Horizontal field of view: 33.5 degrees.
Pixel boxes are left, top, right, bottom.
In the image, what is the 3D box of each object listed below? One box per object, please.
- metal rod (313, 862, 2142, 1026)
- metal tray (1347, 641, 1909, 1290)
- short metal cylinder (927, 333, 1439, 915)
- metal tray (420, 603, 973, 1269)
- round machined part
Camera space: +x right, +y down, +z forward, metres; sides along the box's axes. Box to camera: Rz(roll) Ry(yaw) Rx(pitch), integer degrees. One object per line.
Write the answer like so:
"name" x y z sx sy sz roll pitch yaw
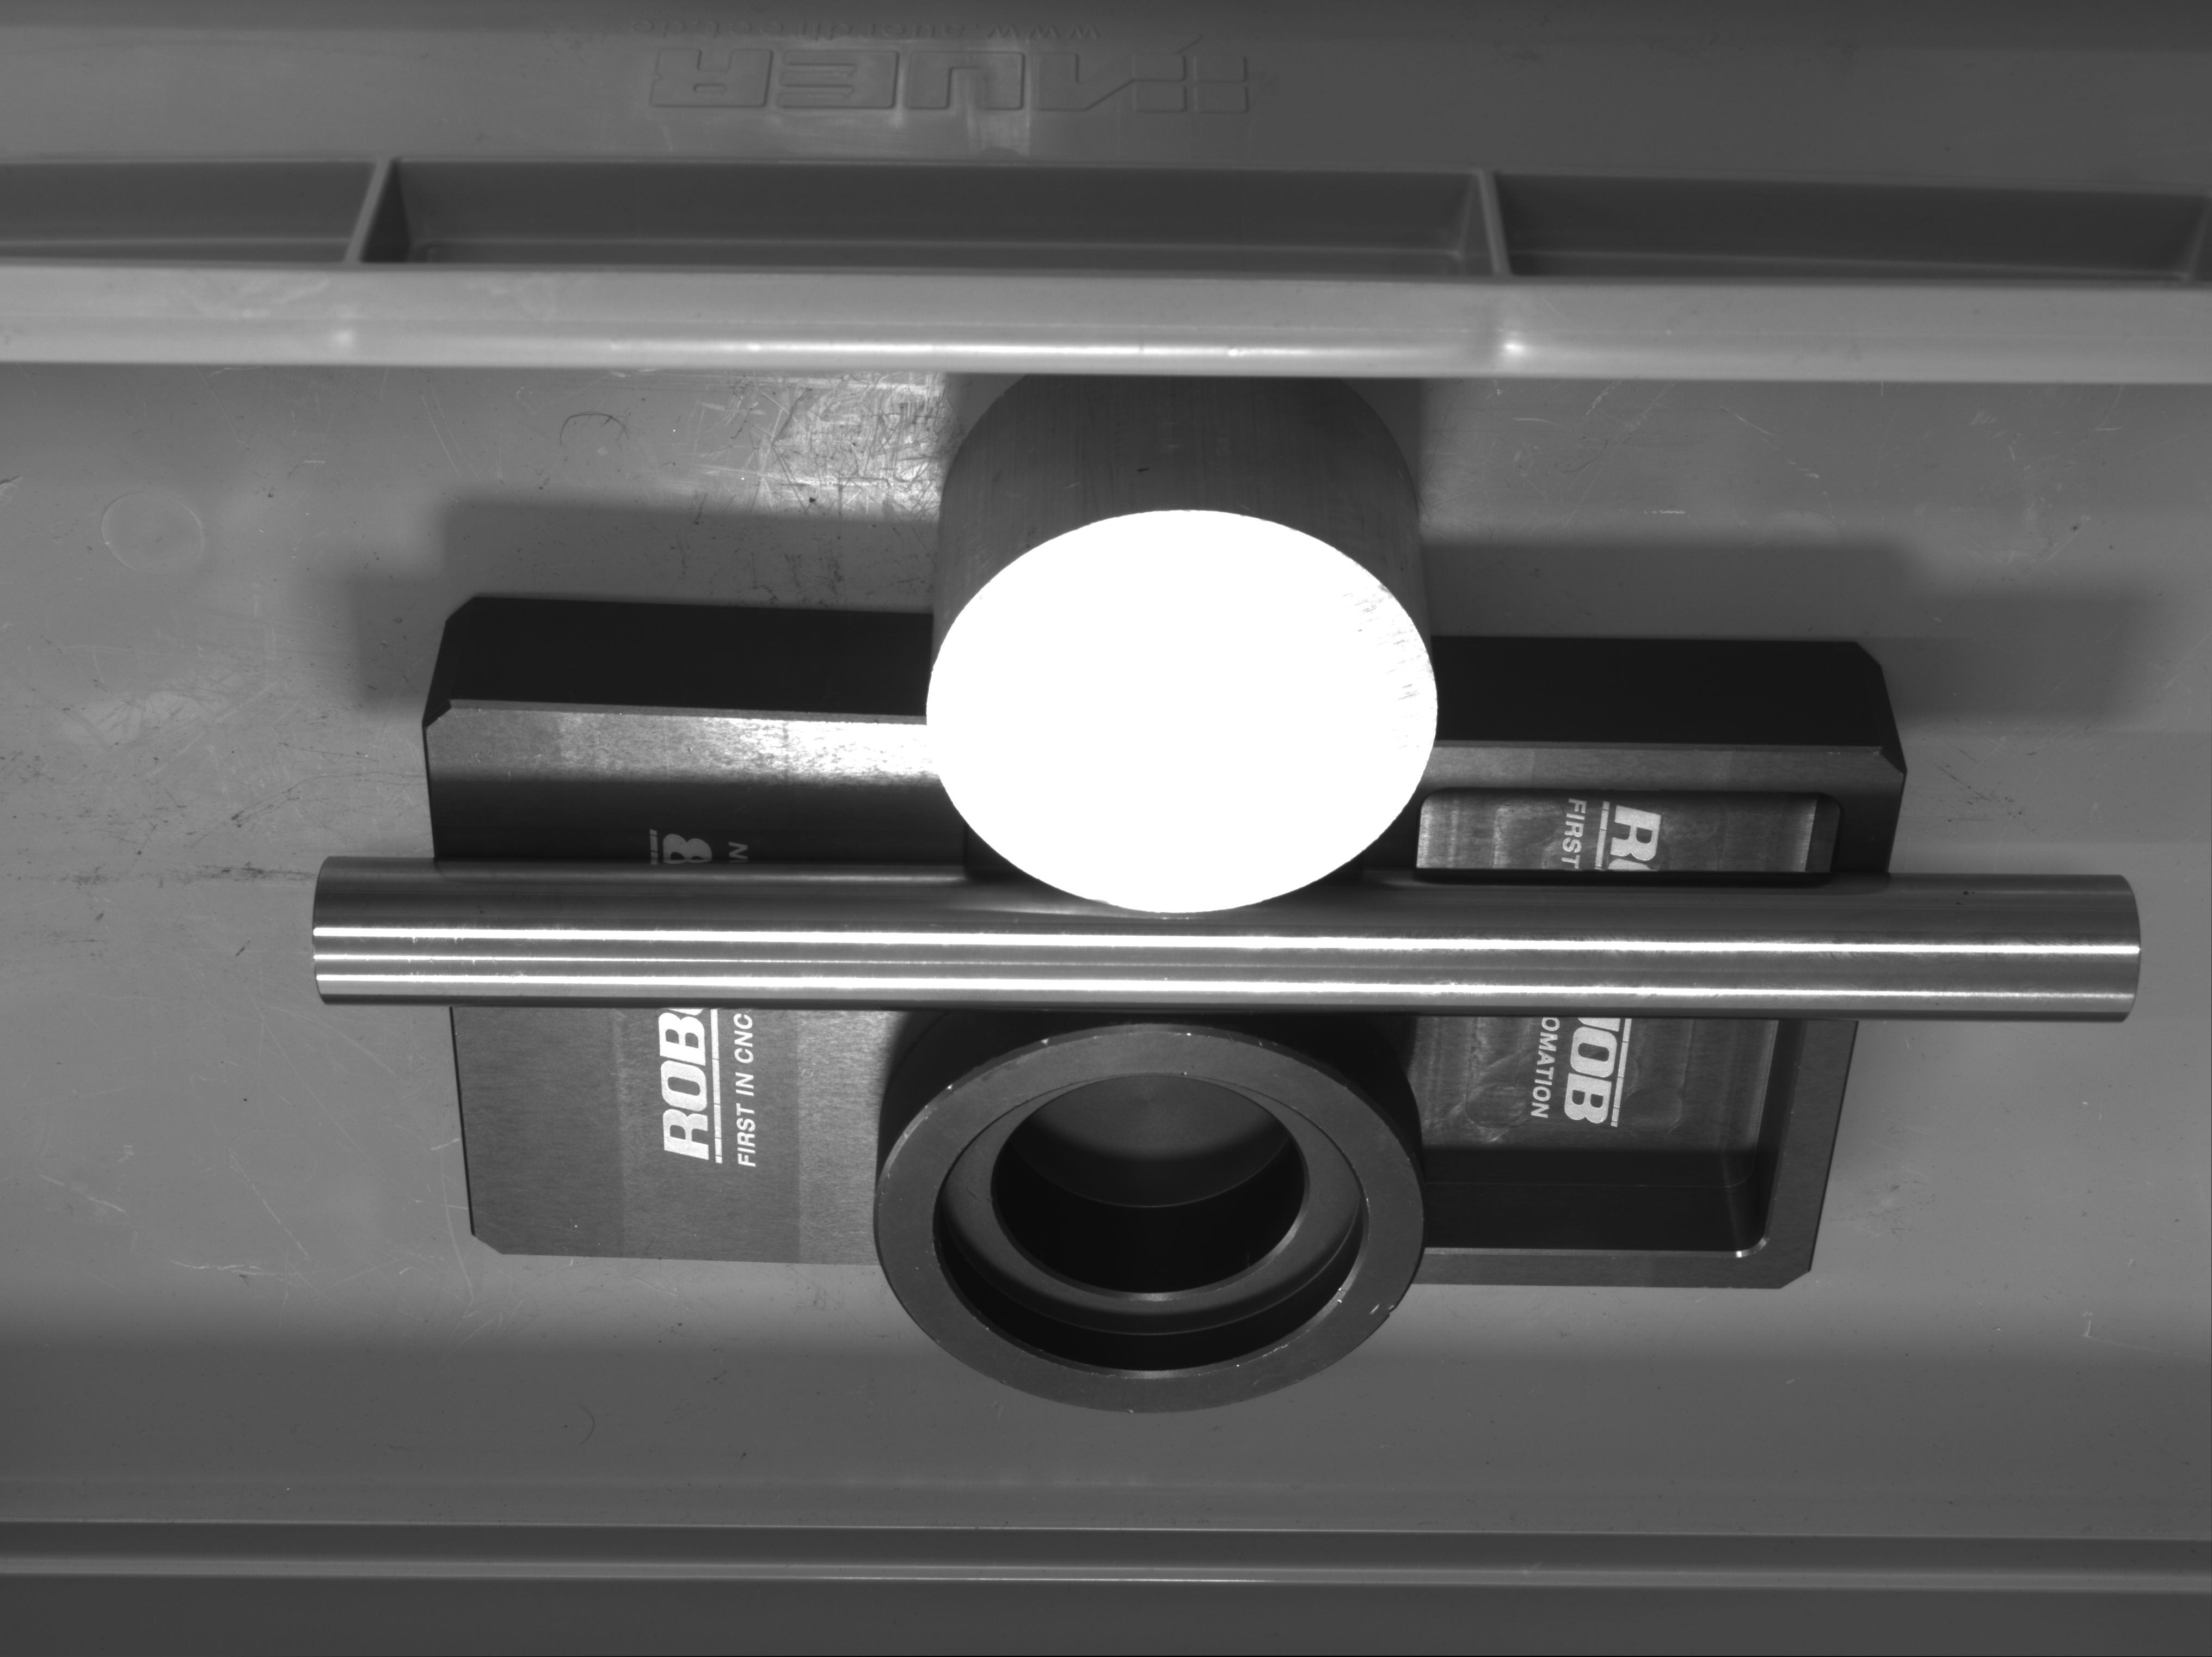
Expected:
"metal rod" 0.020 0.019 0.614 0.300 0.025 0.025 0 130 -1
"metal tray" 0.088 0.027 0.657 0.090 0.030 0.130 0 130 0
"short metal cylinder" 0.012 -0.033 0.594 0.080 0.050 0.080 0 130 0
"metal tray" -0.070 0.022 0.652 0.090 0.030 0.130 2 130 -2
"round machined part" 0.008 0.058 0.663 0.098 0.042 0.098 0 130 0
